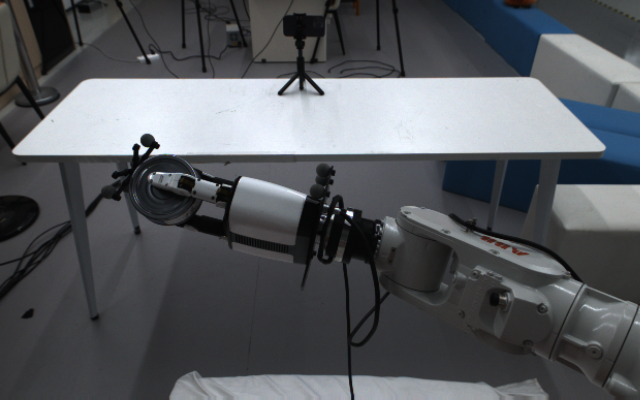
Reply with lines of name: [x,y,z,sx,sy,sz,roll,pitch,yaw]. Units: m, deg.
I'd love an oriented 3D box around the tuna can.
tuna can: [-0.188,-0.012,0.604,0.085,0.034,0.085,1,77,-5]
